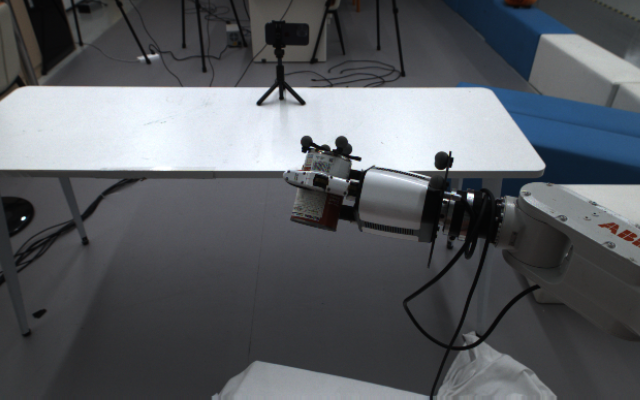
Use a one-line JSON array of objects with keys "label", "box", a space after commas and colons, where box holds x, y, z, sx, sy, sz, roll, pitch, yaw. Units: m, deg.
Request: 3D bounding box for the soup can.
[{"label": "soup can", "box": [0.003, -0.012, 0.681, 0.067, 0.101, 0.067, 13, -6, 1]}]
